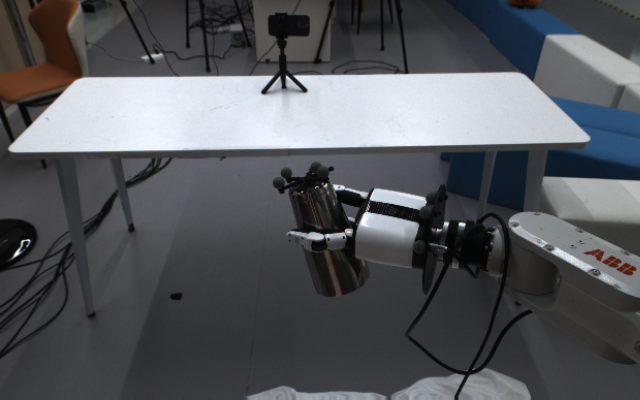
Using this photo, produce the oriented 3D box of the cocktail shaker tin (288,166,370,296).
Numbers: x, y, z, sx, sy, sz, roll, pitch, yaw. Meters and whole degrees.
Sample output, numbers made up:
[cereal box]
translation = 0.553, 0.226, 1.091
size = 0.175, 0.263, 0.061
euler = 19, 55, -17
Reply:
[cocktail shaker tin]
translation = 0.010, 0.051, 0.740
size = 0.093, 0.170, 0.093
euler = -17, 20, 7
